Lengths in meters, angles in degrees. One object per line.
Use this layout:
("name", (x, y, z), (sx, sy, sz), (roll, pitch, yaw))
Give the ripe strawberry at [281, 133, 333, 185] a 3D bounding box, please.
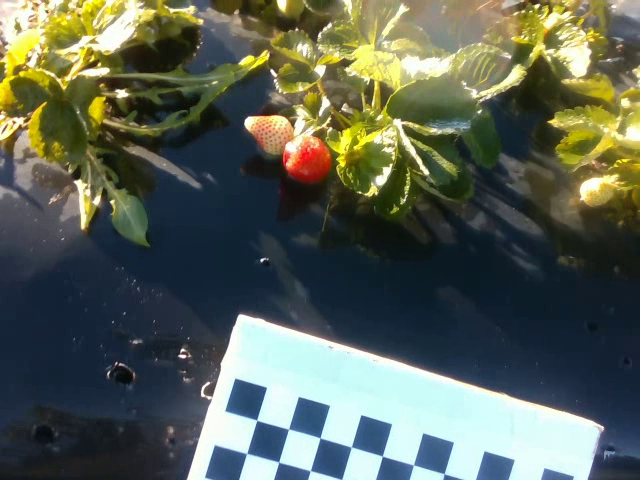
("ripe strawberry", (-0.012, -0.060, 0.431), (0.040, 0.038, 0.055), (0, 3, 23))
